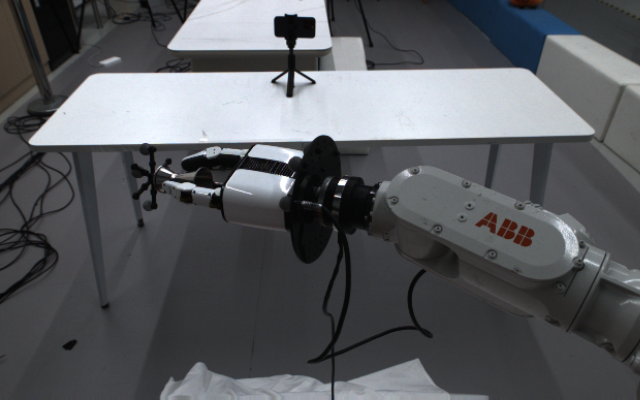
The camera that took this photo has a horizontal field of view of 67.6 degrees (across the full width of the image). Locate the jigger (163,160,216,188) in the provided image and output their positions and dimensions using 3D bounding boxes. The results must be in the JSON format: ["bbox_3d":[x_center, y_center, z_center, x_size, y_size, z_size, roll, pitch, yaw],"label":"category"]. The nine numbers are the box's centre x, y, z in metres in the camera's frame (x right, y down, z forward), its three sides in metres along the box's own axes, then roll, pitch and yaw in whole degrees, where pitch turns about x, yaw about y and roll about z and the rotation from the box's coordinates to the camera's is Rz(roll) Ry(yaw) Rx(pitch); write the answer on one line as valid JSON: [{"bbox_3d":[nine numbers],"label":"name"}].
[{"bbox_3d":[-0.182,-0.028,0.664,0.071,0.043,0.043,6,34,20],"label":"jigger"}]
